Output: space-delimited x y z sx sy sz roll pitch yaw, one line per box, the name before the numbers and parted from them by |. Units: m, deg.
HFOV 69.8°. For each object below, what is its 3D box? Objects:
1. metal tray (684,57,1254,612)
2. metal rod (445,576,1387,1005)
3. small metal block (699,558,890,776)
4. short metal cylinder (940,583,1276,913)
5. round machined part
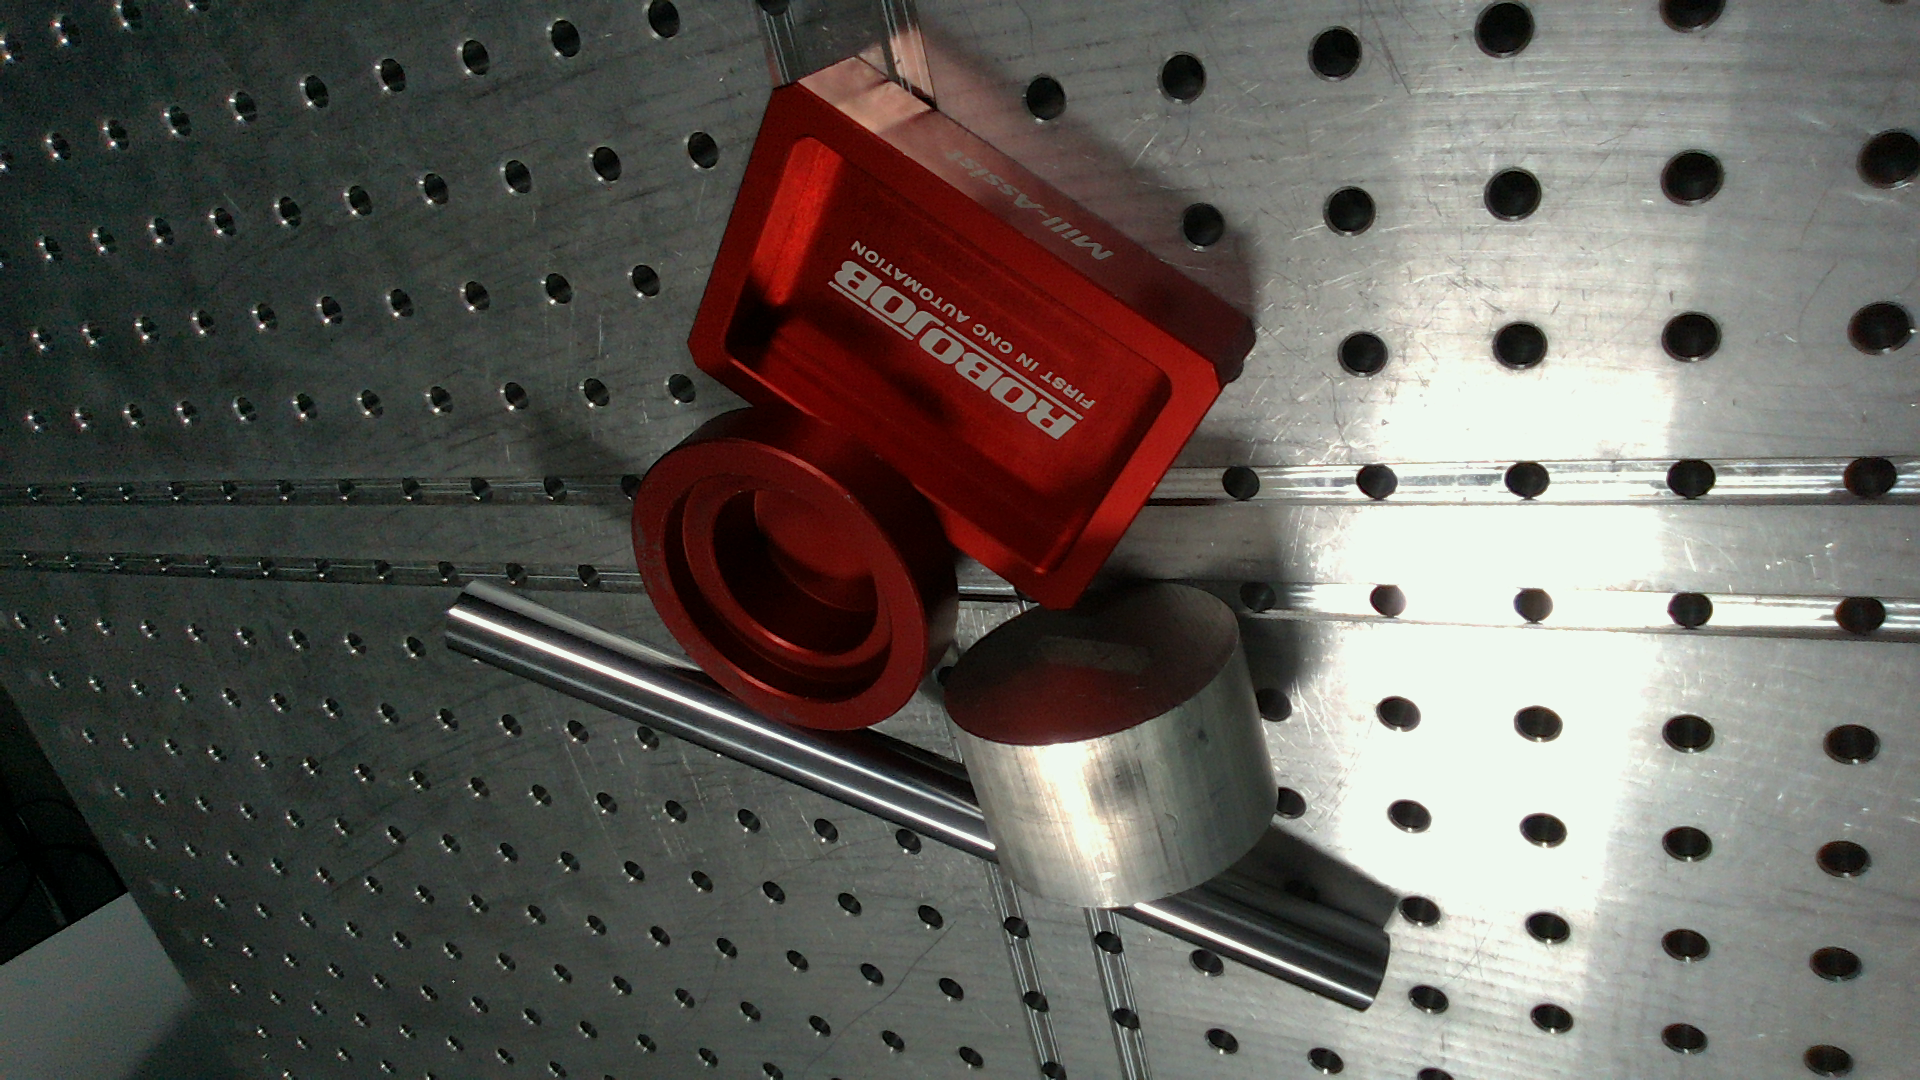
metal tray | -0.002 -0.052 0.361 0.130 0.030 0.090 35 129 6
metal rod | -0.017 0.075 0.425 0.300 0.025 0.025 20 127 5
small metal block | -0.055 0.042 0.452 0.050 0.025 0.050 25 128 13
short metal cylinder | 0.040 0.053 0.370 0.080 0.080 0.050 -4 117 30
round machined part | -0.044 0.005 0.401 0.098 0.042 0.098 15 125 22
